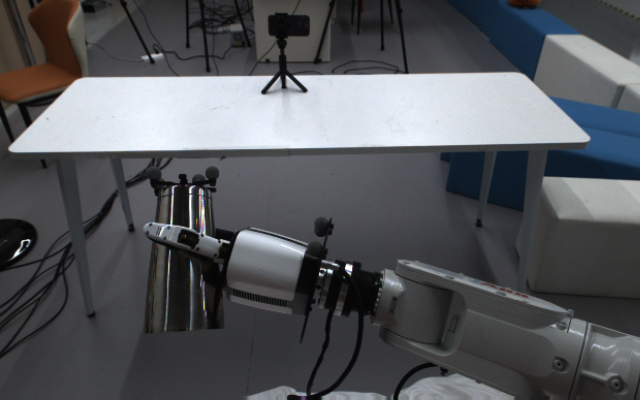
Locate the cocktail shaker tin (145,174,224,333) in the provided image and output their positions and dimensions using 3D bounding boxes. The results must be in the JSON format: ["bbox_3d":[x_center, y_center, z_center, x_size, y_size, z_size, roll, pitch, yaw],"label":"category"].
[{"bbox_3d":[-0.164,0.074,0.589,0.093,0.093,0.170,-3,76,-7],"label":"cocktail shaker tin"}]
